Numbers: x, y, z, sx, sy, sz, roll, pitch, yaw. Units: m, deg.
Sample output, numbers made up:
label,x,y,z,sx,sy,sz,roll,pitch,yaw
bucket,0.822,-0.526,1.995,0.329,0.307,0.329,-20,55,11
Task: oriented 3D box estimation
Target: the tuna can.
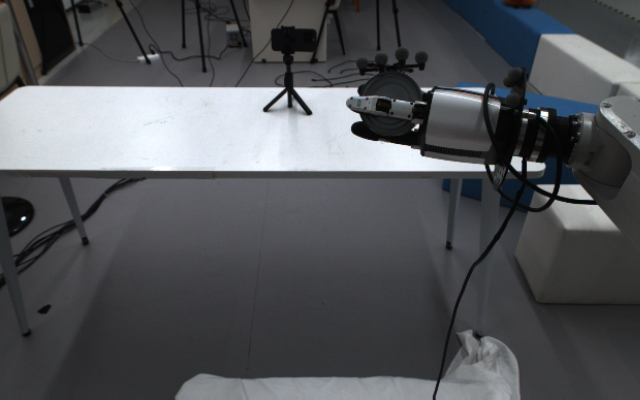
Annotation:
label,x,y,z,sx,sy,sz,roll,pitch,yaw
tuna can,0.097,-0.130,0.656,0.085,0.085,0.034,15,10,18
